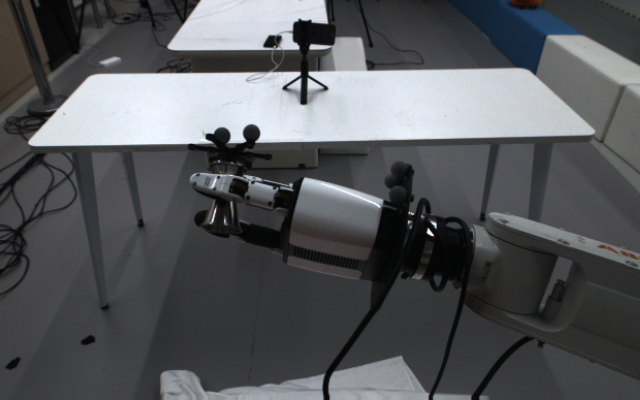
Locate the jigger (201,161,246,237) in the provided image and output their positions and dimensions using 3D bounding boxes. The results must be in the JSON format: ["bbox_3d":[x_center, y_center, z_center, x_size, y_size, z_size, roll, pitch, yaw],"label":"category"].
[{"bbox_3d":[-0.100,-0.002,0.509,0.043,0.043,0.071,3,75,2],"label":"jigger"}]
